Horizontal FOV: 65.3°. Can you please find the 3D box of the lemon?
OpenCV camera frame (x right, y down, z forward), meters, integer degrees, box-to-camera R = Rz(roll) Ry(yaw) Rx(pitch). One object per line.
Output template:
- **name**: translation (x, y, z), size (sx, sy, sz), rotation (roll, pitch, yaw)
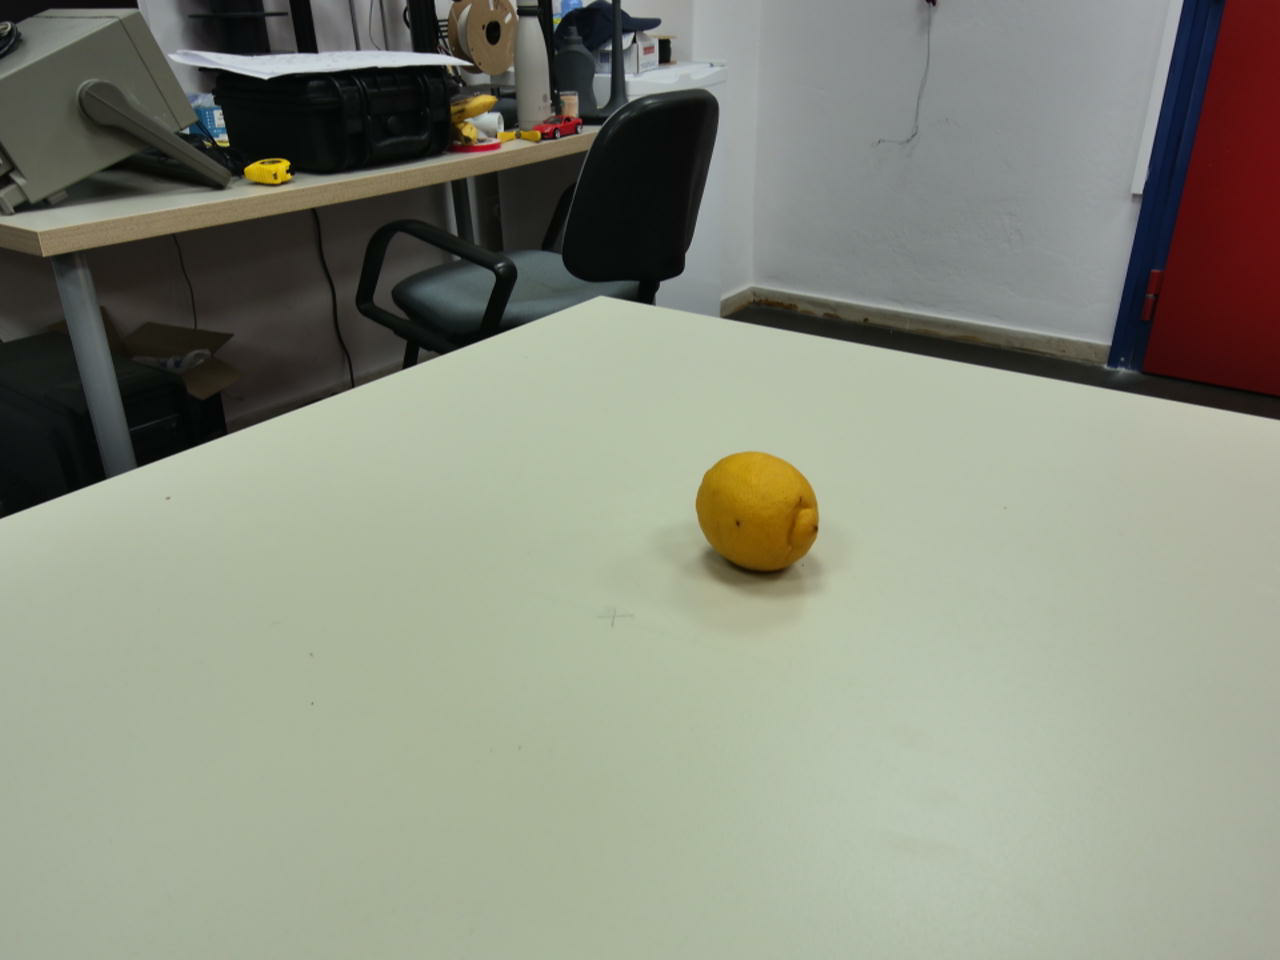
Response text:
- **lemon**: translation (0.061, 0.017, 0.522), size (0.061, 0.059, 0.067), rotation (-4, 25, -10)
